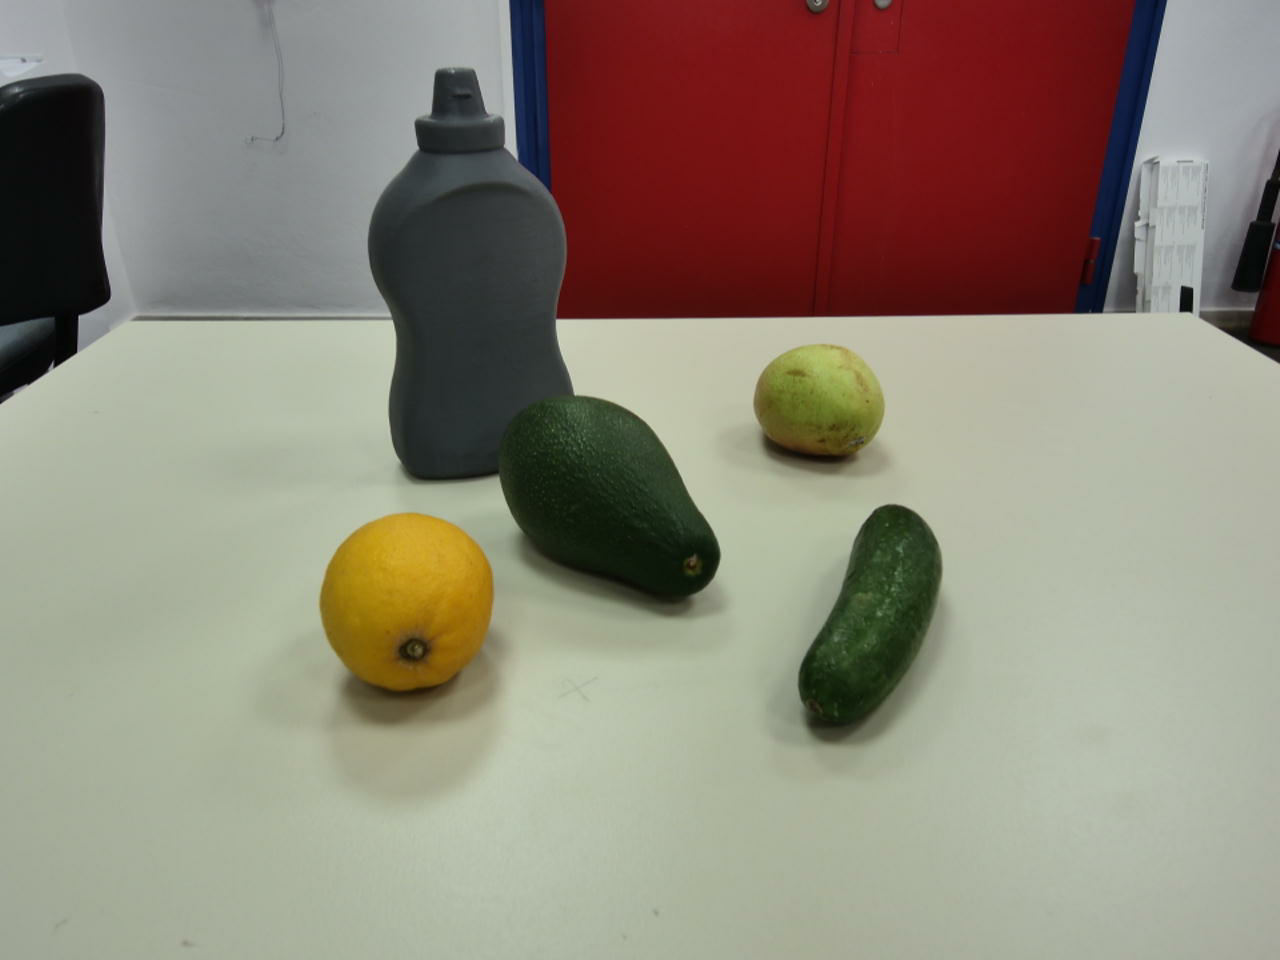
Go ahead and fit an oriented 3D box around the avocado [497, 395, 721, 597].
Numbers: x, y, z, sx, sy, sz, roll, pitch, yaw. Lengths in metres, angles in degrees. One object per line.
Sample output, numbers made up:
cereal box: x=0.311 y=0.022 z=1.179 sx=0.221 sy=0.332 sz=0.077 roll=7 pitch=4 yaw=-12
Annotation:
avocado: x=-0.017 y=0.006 z=0.420 sx=0.072 sy=0.071 sz=0.109 roll=-11 pitch=26 yaw=-21
